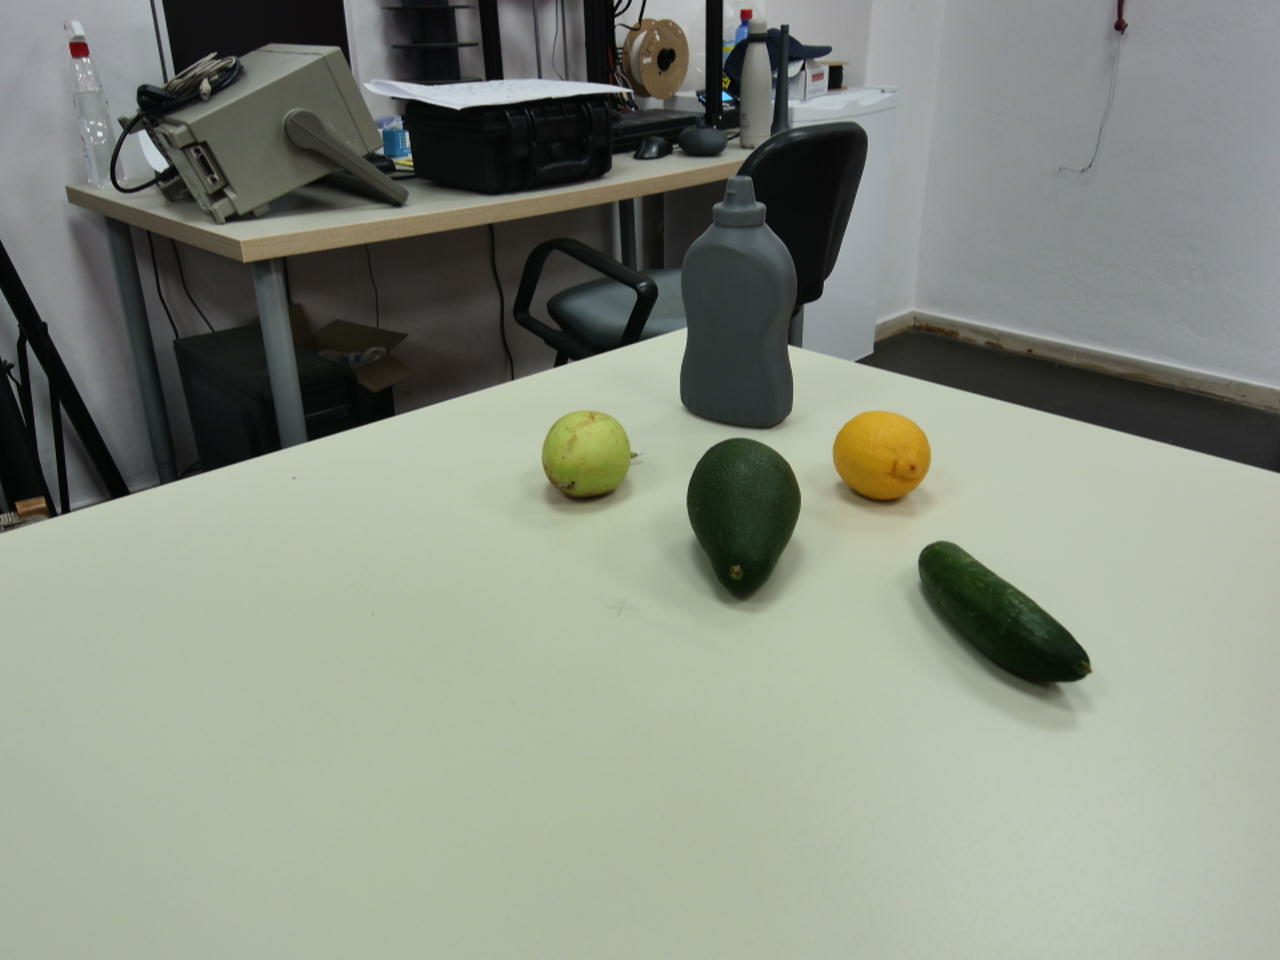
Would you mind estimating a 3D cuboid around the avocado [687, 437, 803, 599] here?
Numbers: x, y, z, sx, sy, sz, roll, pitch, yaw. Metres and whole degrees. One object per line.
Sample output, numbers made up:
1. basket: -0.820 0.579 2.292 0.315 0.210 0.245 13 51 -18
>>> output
1. avocado: 0.058 0.017 0.607 0.073 0.071 0.109 11 26 23
